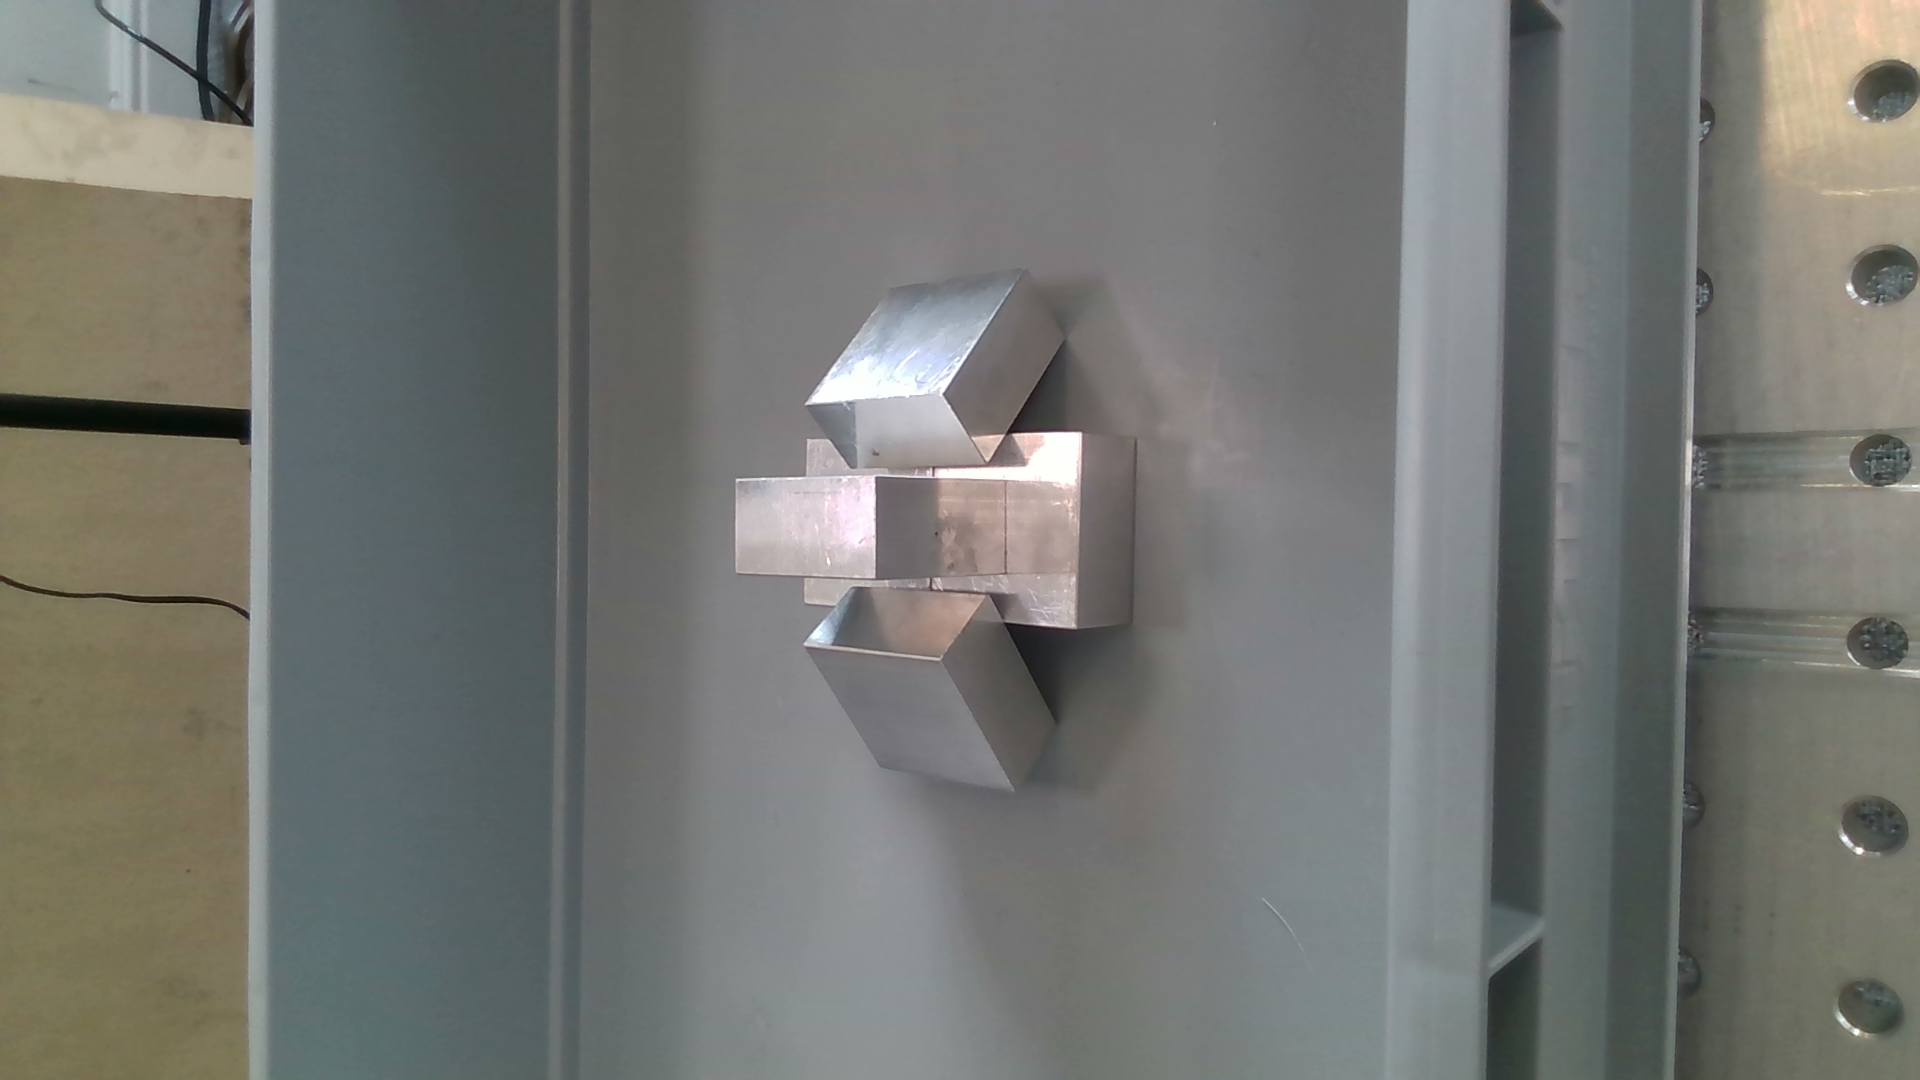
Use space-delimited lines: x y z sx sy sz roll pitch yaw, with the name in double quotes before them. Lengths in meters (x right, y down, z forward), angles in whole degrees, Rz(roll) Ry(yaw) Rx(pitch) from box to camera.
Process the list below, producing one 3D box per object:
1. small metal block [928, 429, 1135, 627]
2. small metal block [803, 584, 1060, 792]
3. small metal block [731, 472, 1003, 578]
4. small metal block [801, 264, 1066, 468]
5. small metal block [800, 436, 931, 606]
"small metal block" 0.019 -0.004 0.372 0.050 0.025 0.050 3 93 40
"small metal block" -0.008 0.040 0.380 0.050 0.025 0.050 3 131 41
"small metal block" -0.024 -0.004 0.359 0.050 0.050 0.025 1 91 40
"small metal block" -0.007 -0.047 0.377 0.050 0.025 0.050 1 48 40
"small metal block" -0.020 -0.005 0.405 0.050 0.025 0.050 3 92 40
